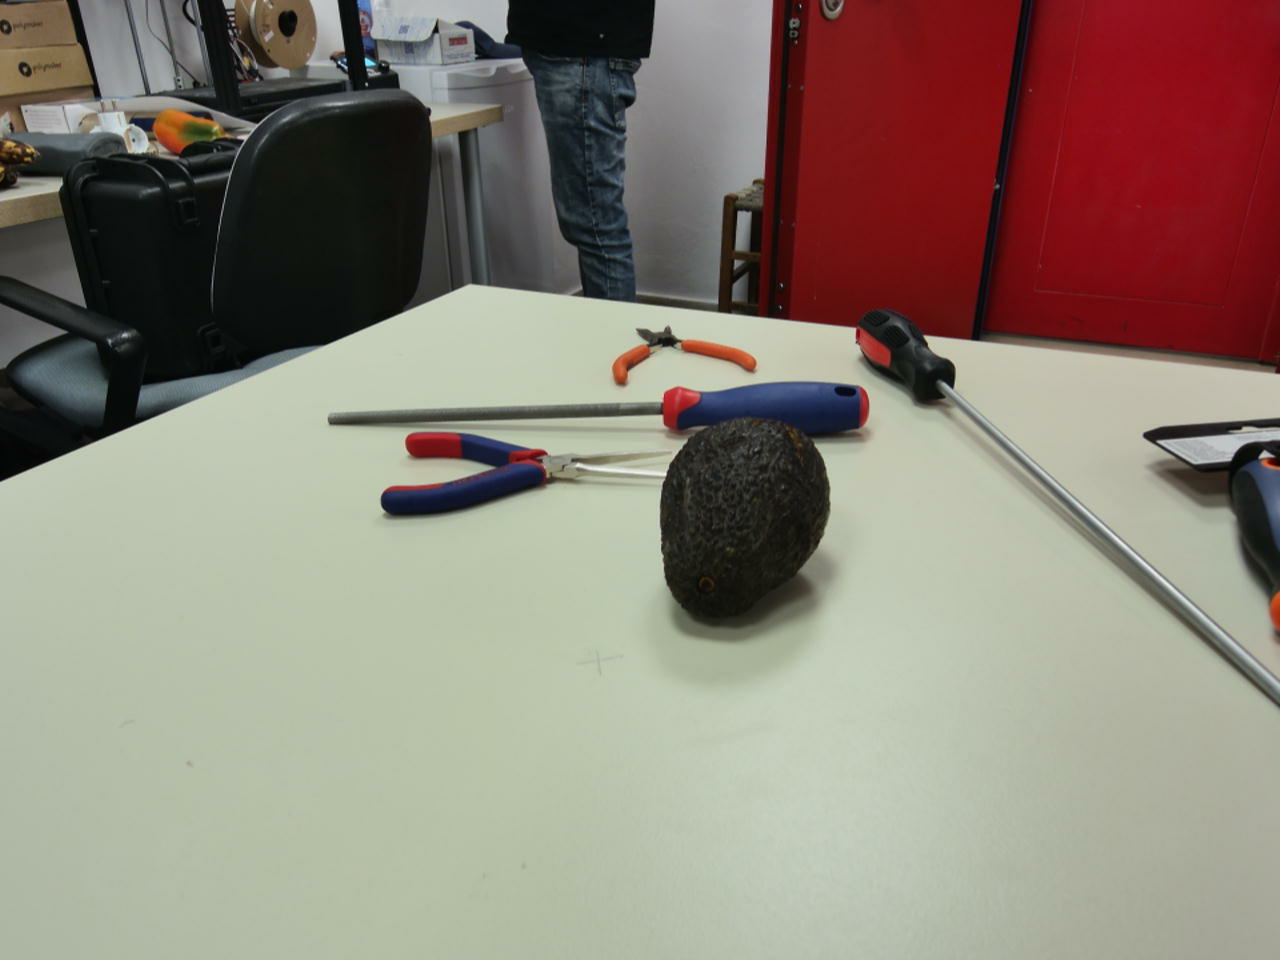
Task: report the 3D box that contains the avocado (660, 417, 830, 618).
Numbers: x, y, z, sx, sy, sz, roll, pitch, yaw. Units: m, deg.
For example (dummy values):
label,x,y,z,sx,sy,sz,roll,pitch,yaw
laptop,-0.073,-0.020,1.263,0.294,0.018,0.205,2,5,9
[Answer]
label,x,y,z,sx,sy,sz,roll,pitch,yaw
avocado,0.040,0.011,0.416,0.090,0.069,0.070,-18,29,-35
